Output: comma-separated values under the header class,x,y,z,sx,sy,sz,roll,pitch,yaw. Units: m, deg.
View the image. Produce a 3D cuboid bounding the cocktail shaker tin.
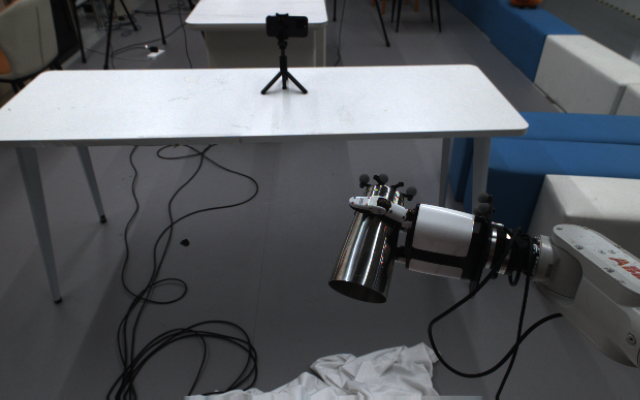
class,x,y,z,sx,sy,sz,roll,pitch,yaw
cocktail shaker tin,0.083,0.061,0.757,0.093,0.093,0.170,12,65,15
